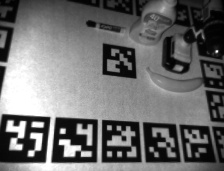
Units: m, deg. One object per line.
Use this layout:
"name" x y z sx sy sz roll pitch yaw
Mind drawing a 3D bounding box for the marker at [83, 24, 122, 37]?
"marker" -0.028 -0.170 0.663 0.122 0.019 0.019 7 71 -16

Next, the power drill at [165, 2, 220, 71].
"power drill" 0.224 -0.115 0.615 0.058 0.186 0.184 18 64 -12

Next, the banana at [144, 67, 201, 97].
"banana" 0.189 -0.002 0.669 0.198 0.038 0.074 12 70 -12

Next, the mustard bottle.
"mustard bottle" 0.117 -0.179 0.619 0.097 0.190 0.058 15 67 -13
